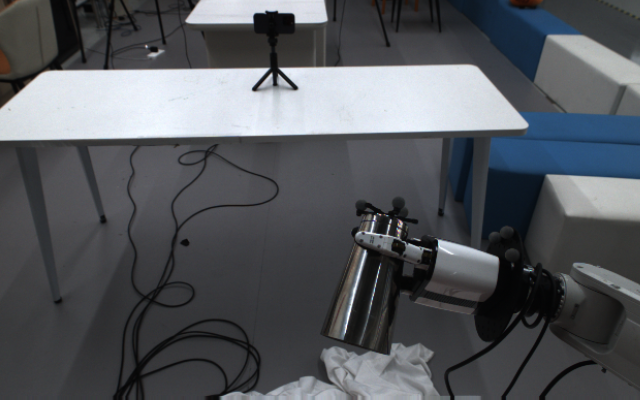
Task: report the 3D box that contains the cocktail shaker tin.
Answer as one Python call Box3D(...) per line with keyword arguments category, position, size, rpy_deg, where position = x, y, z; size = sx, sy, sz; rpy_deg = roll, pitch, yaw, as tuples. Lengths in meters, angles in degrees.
Box3D(category="cocktail shaker tin", position=(0.069, 0.106, 0.647), size=(0.093, 0.093, 0.170), rpy_deg=(12, 72, 14))
